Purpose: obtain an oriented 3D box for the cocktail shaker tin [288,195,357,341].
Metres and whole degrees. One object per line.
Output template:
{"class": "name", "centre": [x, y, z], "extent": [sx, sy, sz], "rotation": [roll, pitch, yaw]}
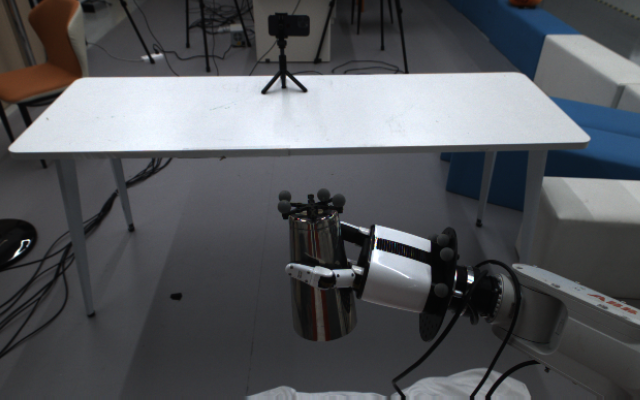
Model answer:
{"class": "cocktail shaker tin", "centre": [0.000, 0.095, 0.665], "extent": [0.093, 0.170, 0.093], "rotation": [-6, 20, 2]}
